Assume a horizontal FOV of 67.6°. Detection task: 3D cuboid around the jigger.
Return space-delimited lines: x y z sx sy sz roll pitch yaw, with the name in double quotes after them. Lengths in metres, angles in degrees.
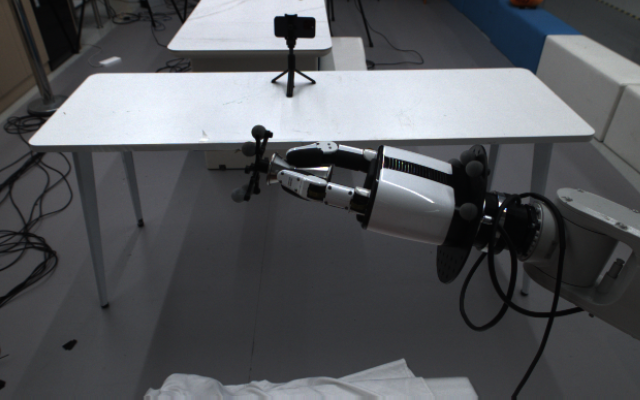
-0.016 -0.030 0.554 0.071 0.043 0.043 14 36 5 "jigger"
